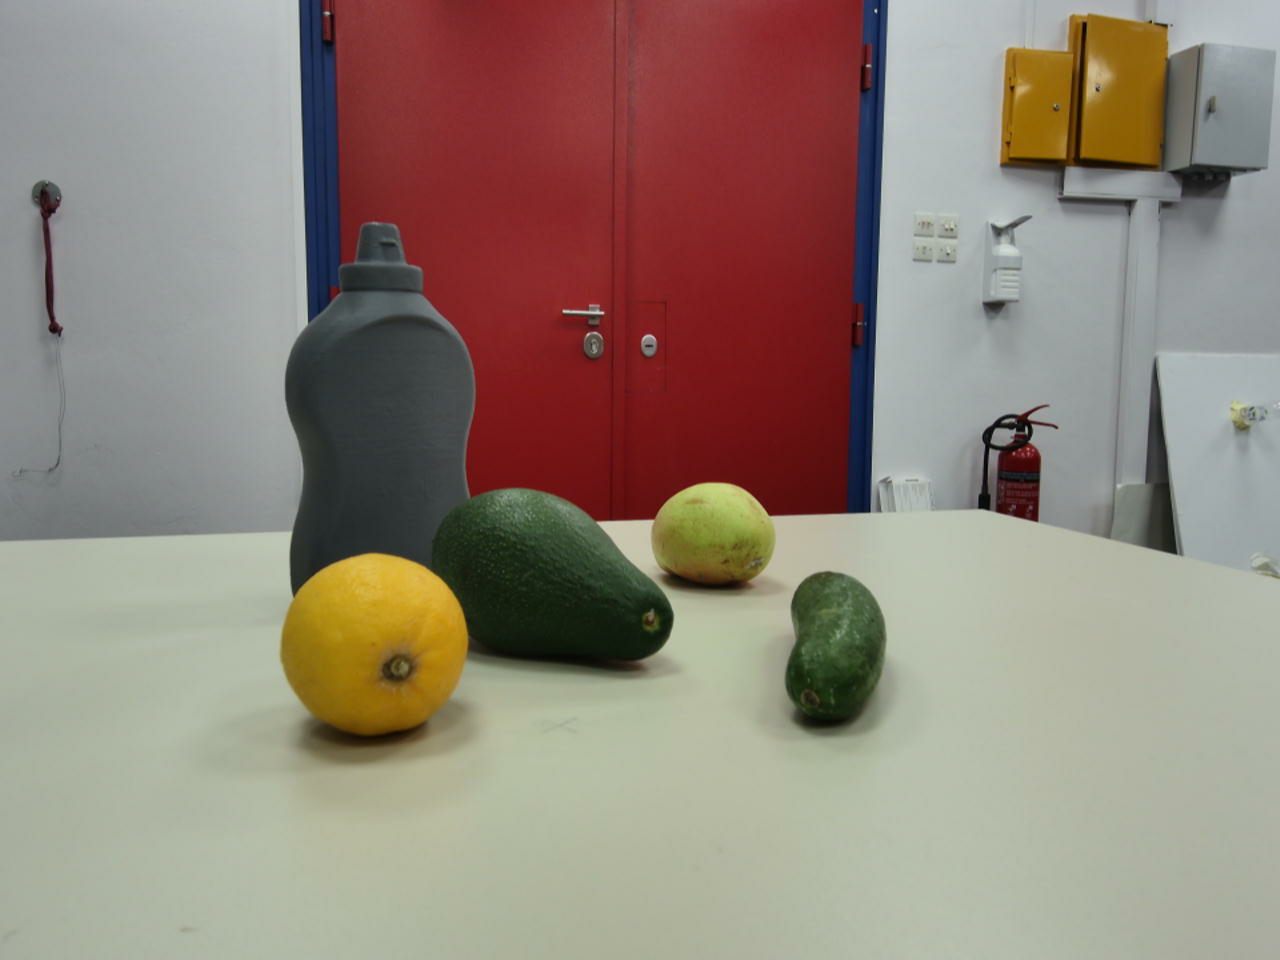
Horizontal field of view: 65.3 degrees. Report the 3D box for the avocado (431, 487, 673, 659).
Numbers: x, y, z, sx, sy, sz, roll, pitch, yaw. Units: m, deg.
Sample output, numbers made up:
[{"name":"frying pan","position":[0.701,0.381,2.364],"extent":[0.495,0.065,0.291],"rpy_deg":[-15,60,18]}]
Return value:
[{"name":"avocado","position":[-0.042,0.039,0.424],"extent":[0.072,0.071,0.110],"rpy_deg":[-2,5,-36]}]
